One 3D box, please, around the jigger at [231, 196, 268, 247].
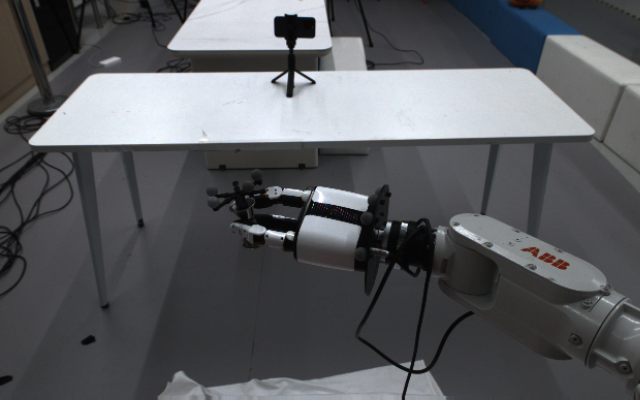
[{"bbox_3d":[-0.105,0.035,0.727,0.043,0.071,0.043,-12,29,7],"label":"jigger"}]
